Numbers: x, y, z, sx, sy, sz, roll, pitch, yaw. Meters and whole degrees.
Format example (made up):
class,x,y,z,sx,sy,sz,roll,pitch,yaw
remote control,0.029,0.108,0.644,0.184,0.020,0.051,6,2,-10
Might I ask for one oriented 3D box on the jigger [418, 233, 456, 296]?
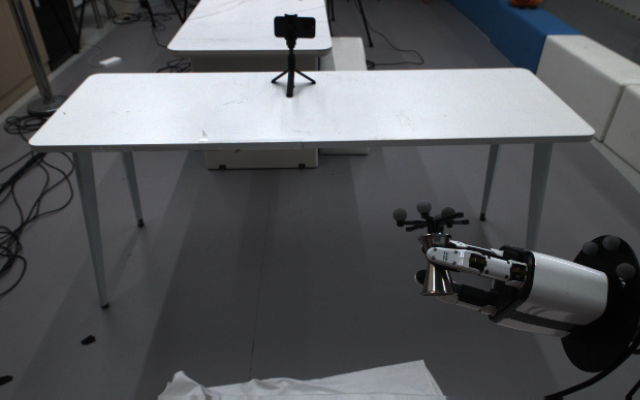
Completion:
class,x,y,z,sx,sy,sz,roll,pitch,yaw
jigger,0.138,0.074,0.565,0.043,0.043,0.071,0,75,-3
